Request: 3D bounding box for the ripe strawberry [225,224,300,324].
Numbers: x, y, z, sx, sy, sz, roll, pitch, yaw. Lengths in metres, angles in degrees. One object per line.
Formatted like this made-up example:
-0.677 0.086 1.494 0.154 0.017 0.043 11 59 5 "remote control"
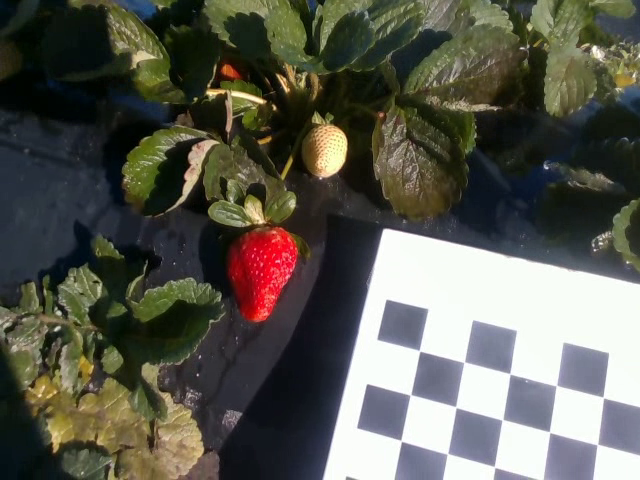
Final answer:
-0.035 0.021 0.356 0.048 0.069 0.040 -5 -24 3 "ripe strawberry"
